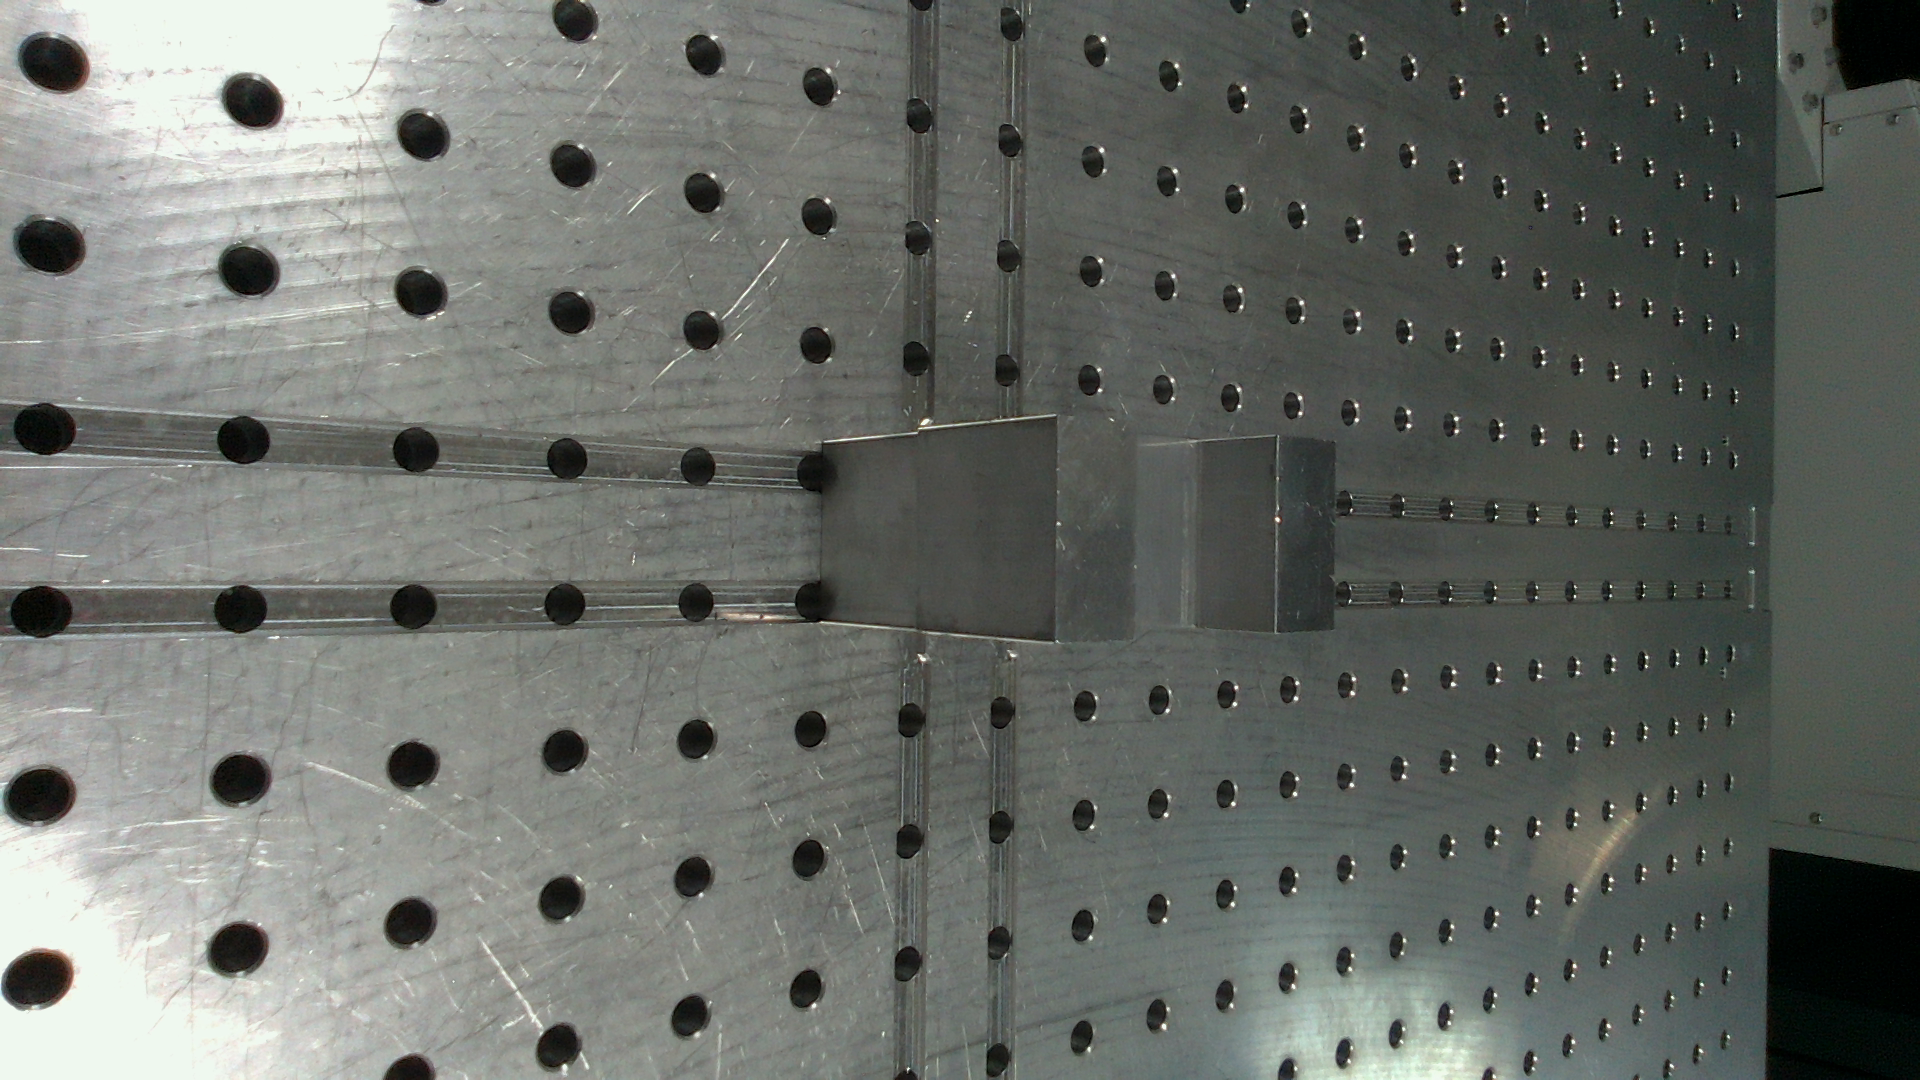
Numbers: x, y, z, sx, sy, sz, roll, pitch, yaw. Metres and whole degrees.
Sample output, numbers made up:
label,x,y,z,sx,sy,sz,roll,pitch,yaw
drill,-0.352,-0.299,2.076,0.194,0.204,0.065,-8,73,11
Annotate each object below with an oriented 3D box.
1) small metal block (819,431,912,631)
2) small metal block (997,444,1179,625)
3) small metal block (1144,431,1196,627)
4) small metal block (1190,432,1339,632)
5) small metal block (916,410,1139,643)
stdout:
label,x,y,z,sx,sy,sz,roll,pitch,yaw
small metal block,-0.013,-0.002,0.364,0.025,0.050,0.050,1,89,-40
small metal block,0.037,-0.002,0.406,0.025,0.050,0.050,-1,91,-40
small metal block,0.035,-0.003,0.357,0.050,0.025,0.050,1,89,-40
small metal block,0.073,-0.002,0.370,0.025,0.050,0.050,1,89,-39
small metal block,0.015,-0.003,0.322,0.025,0.050,0.050,1,89,-39
